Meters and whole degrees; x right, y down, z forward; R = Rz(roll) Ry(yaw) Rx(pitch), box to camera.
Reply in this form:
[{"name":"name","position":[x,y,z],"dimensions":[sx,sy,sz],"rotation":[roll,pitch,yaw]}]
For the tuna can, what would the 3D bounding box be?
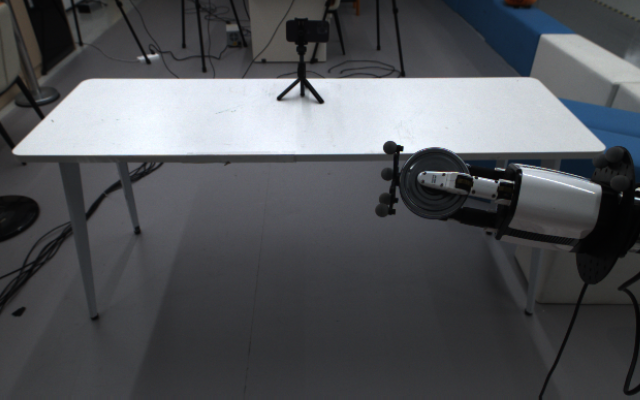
[{"name":"tuna can","position":[0.142,-0.024,0.594],"dimensions":[0.085,0.085,0.034],"rotation":[9,-7,10]}]
